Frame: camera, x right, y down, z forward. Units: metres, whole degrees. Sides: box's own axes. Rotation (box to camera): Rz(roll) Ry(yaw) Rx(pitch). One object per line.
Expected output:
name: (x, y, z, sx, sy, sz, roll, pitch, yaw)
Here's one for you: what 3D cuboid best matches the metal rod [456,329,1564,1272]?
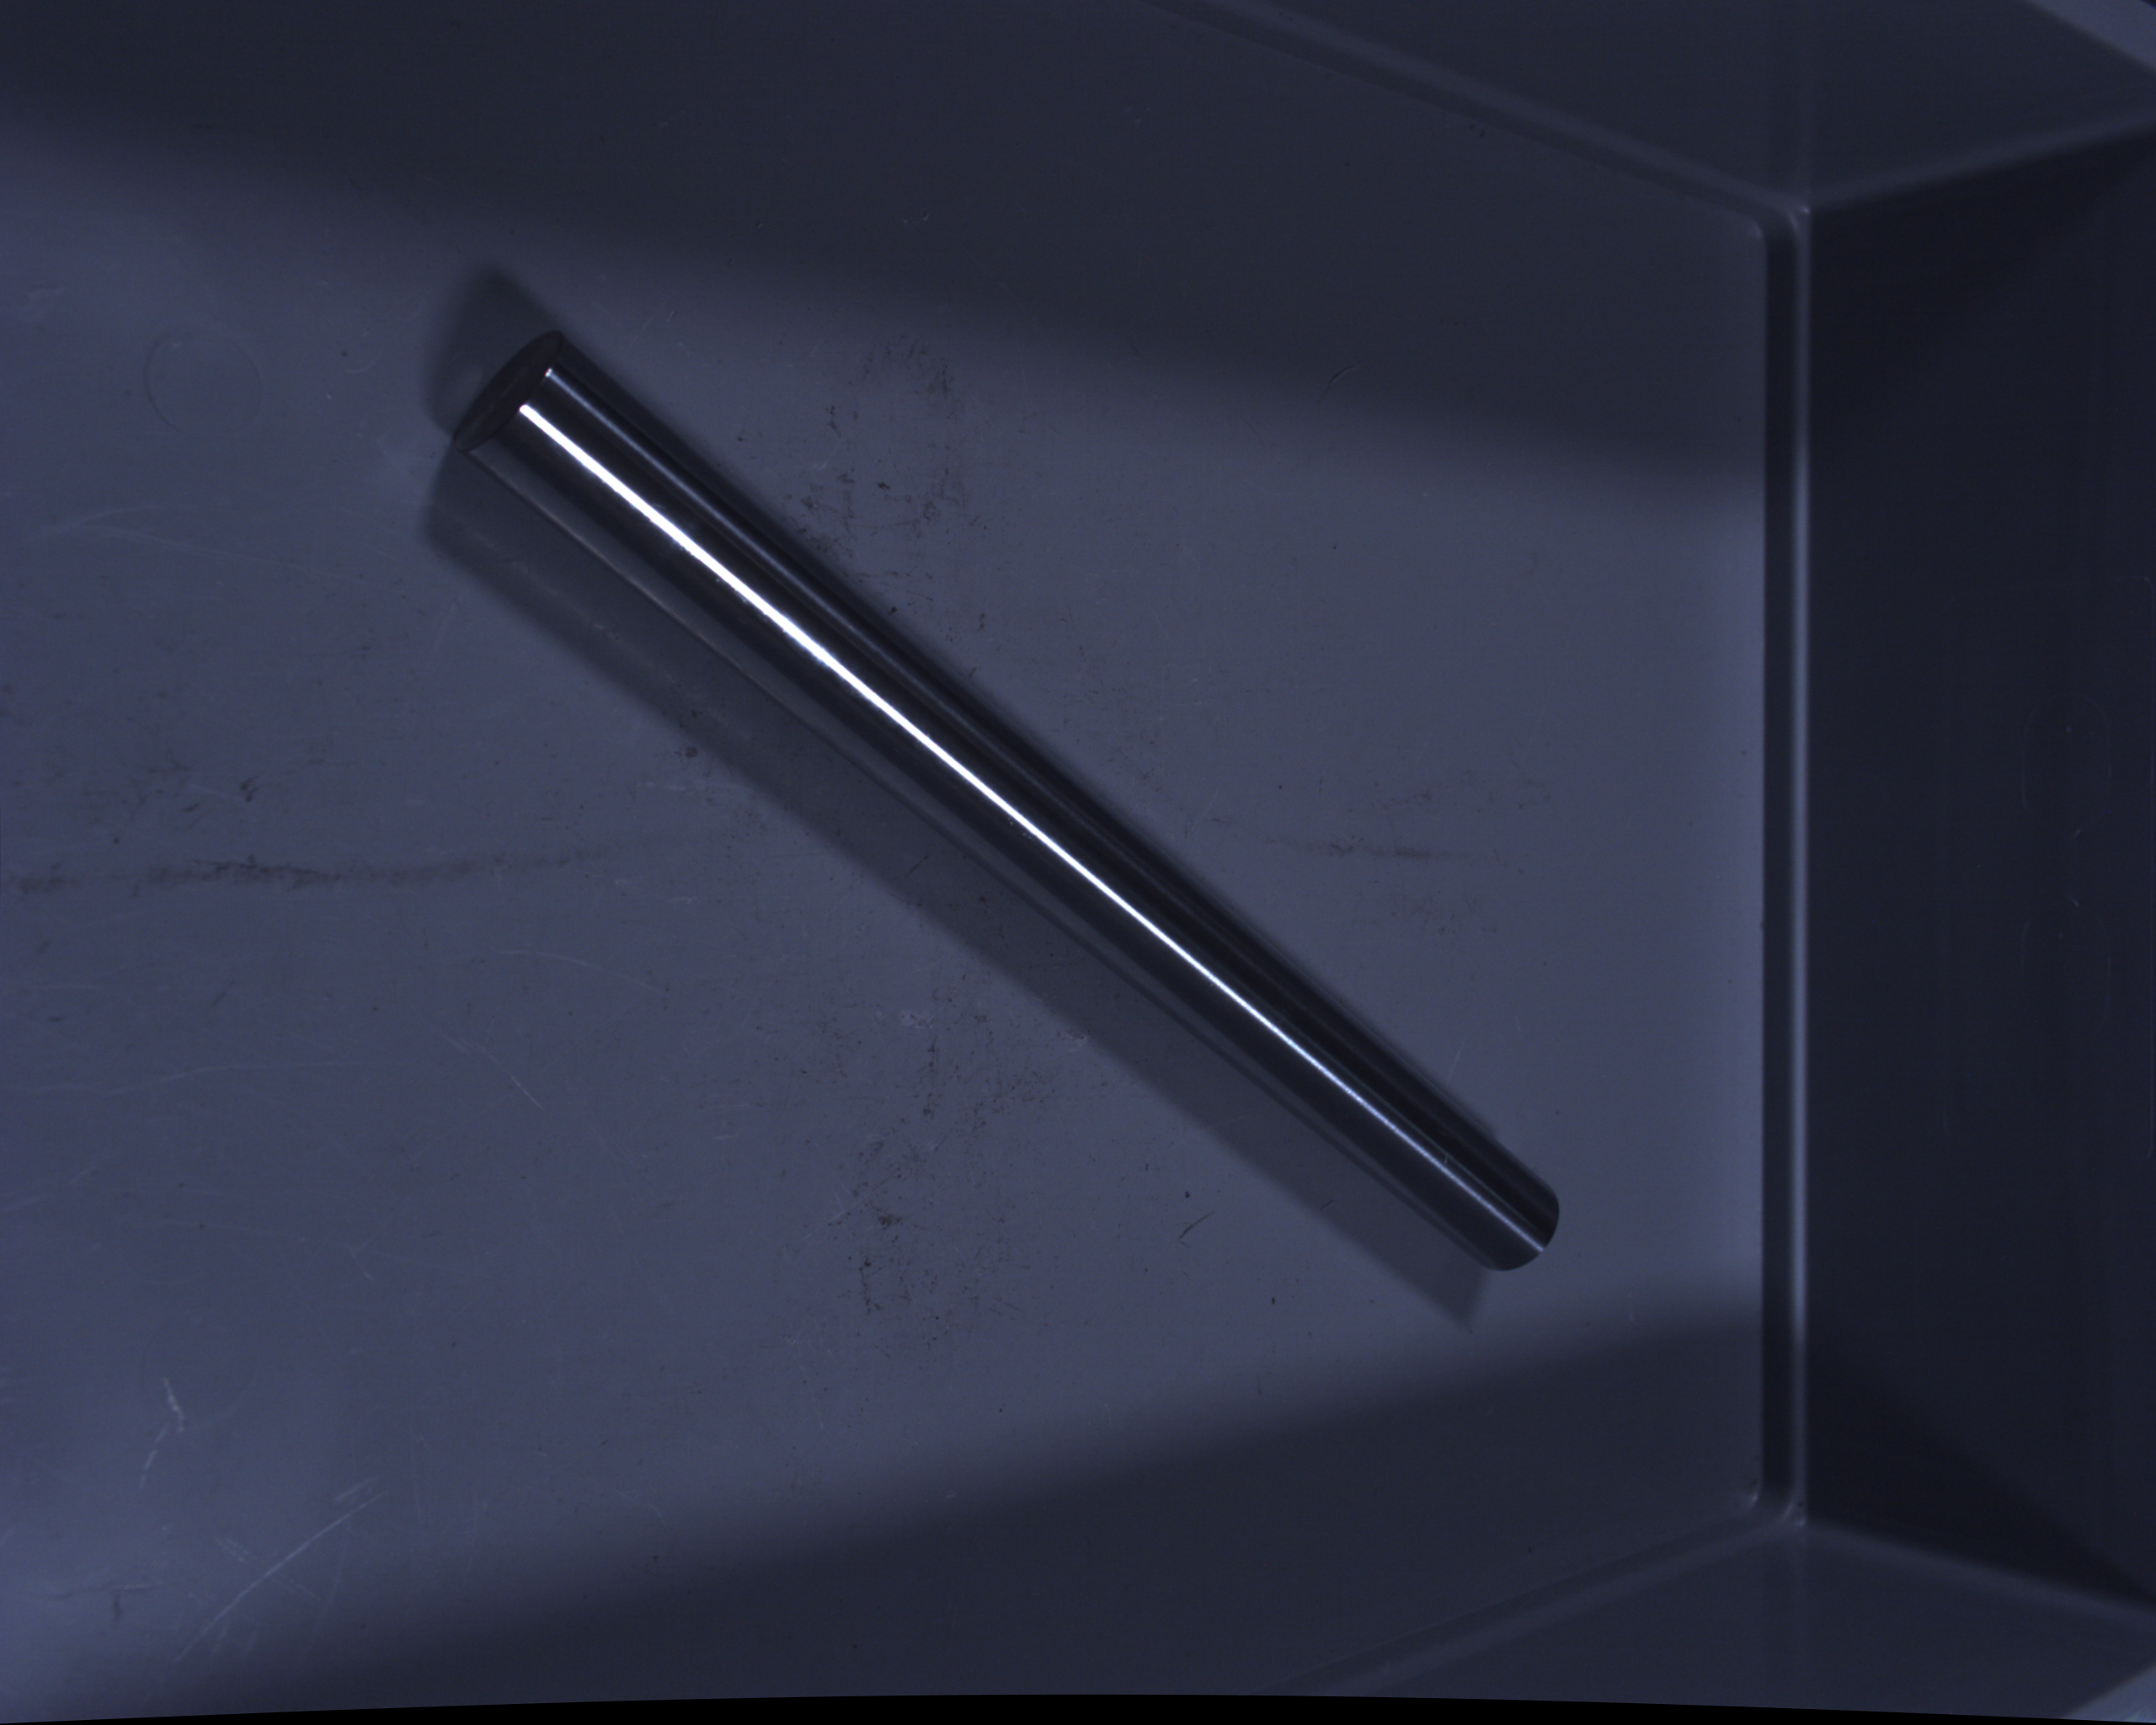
metal rod: (0.007, 0.005, 0.412, 0.301, 0.025, 0.025, 40, 66, -33)
